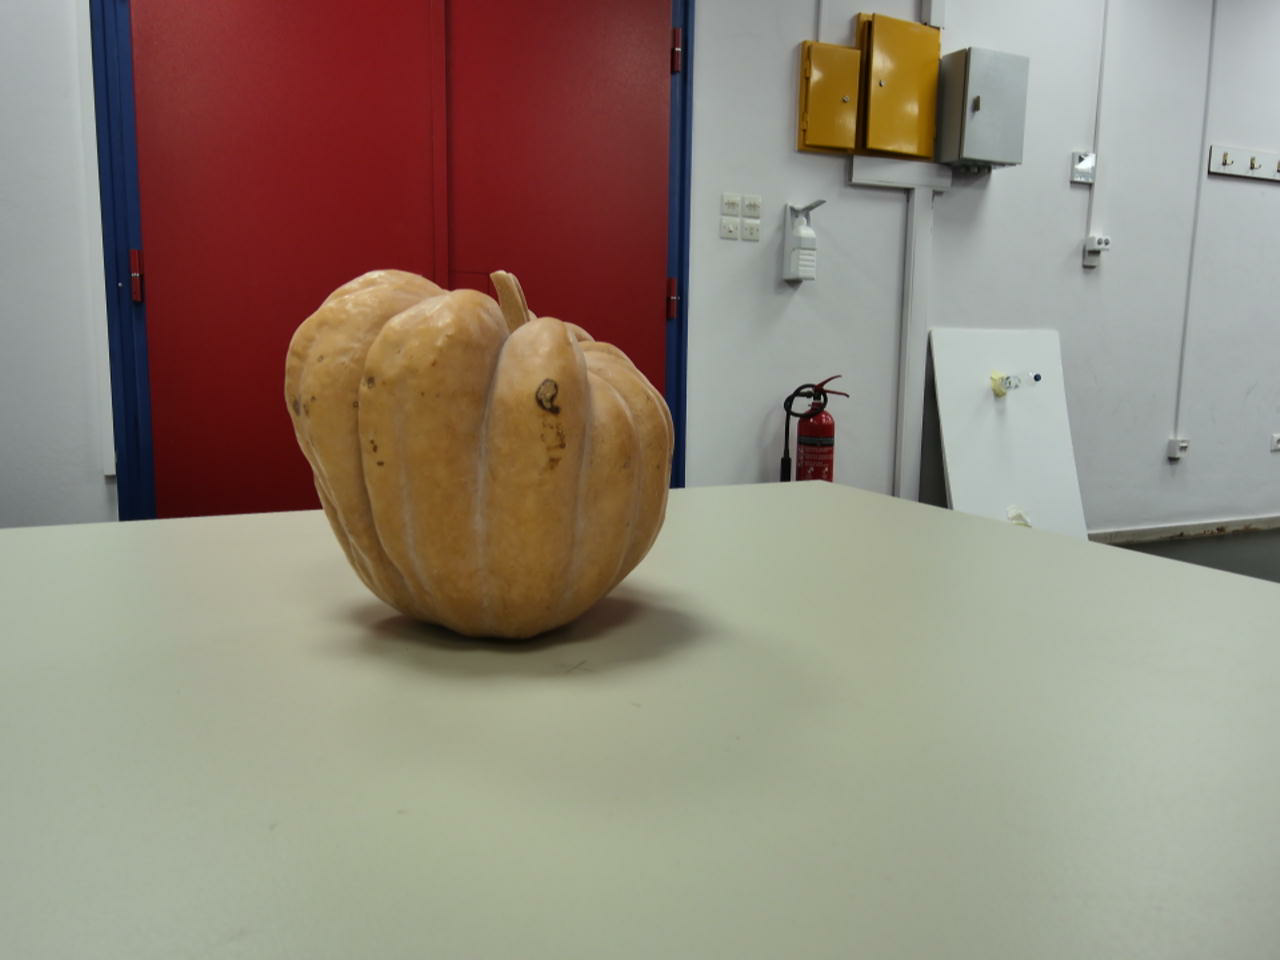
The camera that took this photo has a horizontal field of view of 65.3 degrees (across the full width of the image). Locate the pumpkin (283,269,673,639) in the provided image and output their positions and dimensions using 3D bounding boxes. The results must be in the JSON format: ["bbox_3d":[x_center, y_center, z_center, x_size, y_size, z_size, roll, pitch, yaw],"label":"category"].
[{"bbox_3d":[-0.078,-0.015,0.498,0.199,0.177,0.198,1,7,0],"label":"pumpkin"}]
